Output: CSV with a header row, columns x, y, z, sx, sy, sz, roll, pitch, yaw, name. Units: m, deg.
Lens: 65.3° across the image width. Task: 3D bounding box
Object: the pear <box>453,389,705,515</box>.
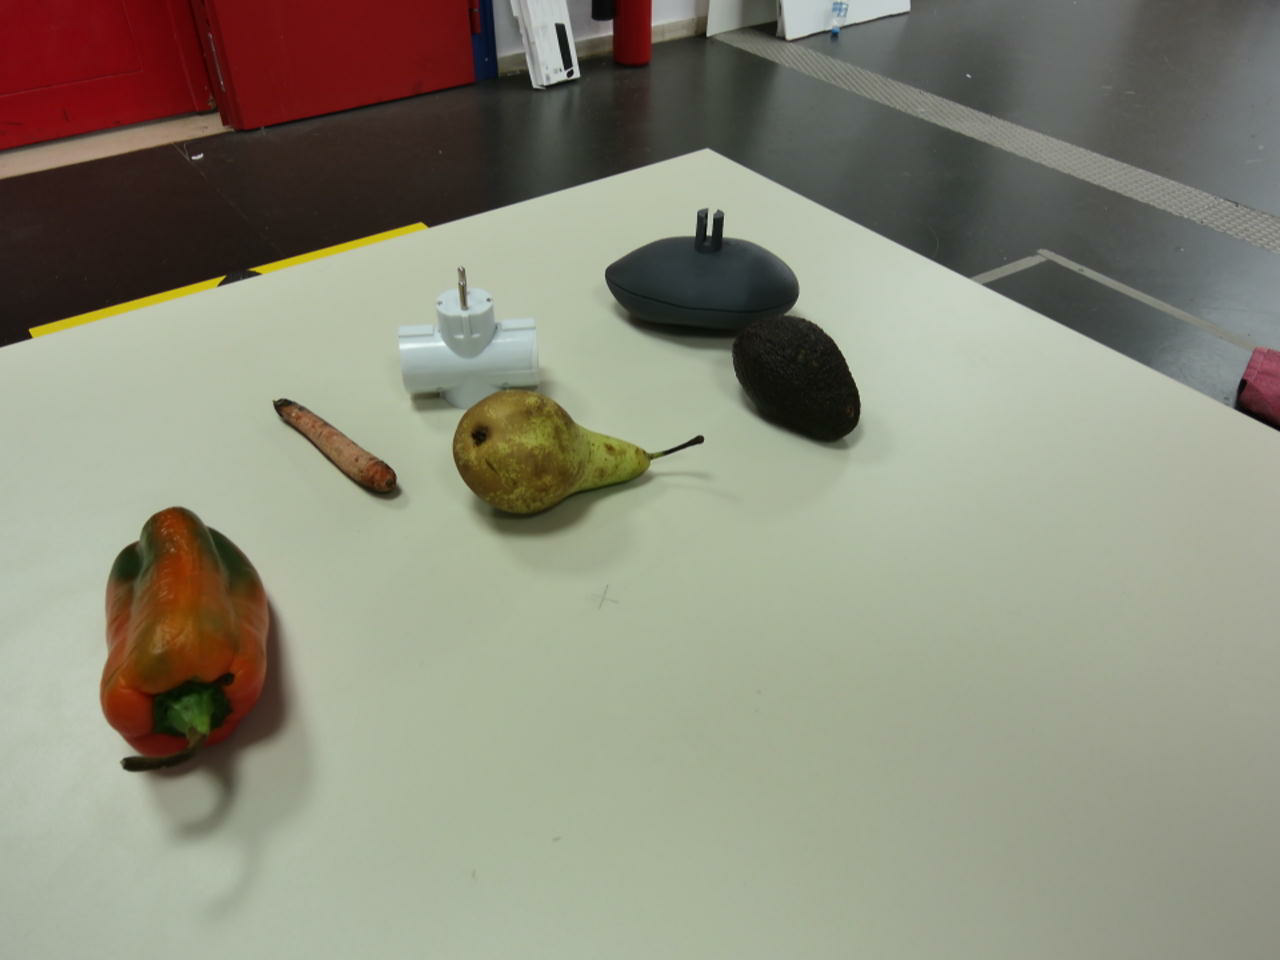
x,y,z,sx,sy,sz,roll,pitch,yaw,name
-0.040,-0.026,0.591,0.144,0.075,0.071,-20,42,-23,pear
